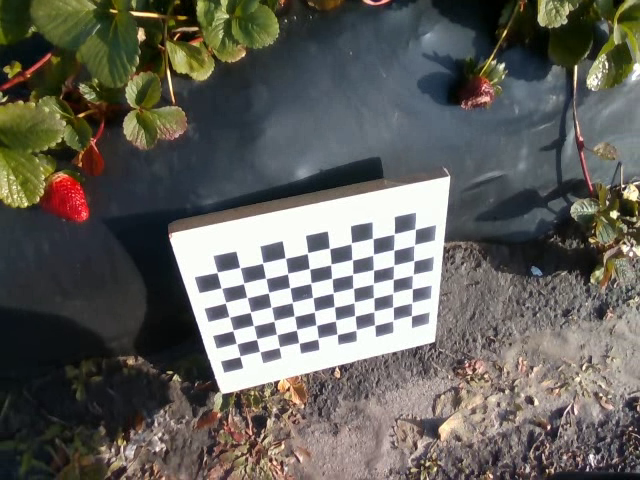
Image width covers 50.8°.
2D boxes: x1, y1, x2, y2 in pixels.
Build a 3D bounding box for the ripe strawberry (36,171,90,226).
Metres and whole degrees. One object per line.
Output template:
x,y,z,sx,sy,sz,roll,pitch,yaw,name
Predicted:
-0.224,-0.033,0.585,0.041,0.056,0.041,-49,-7,30,ripe strawberry
